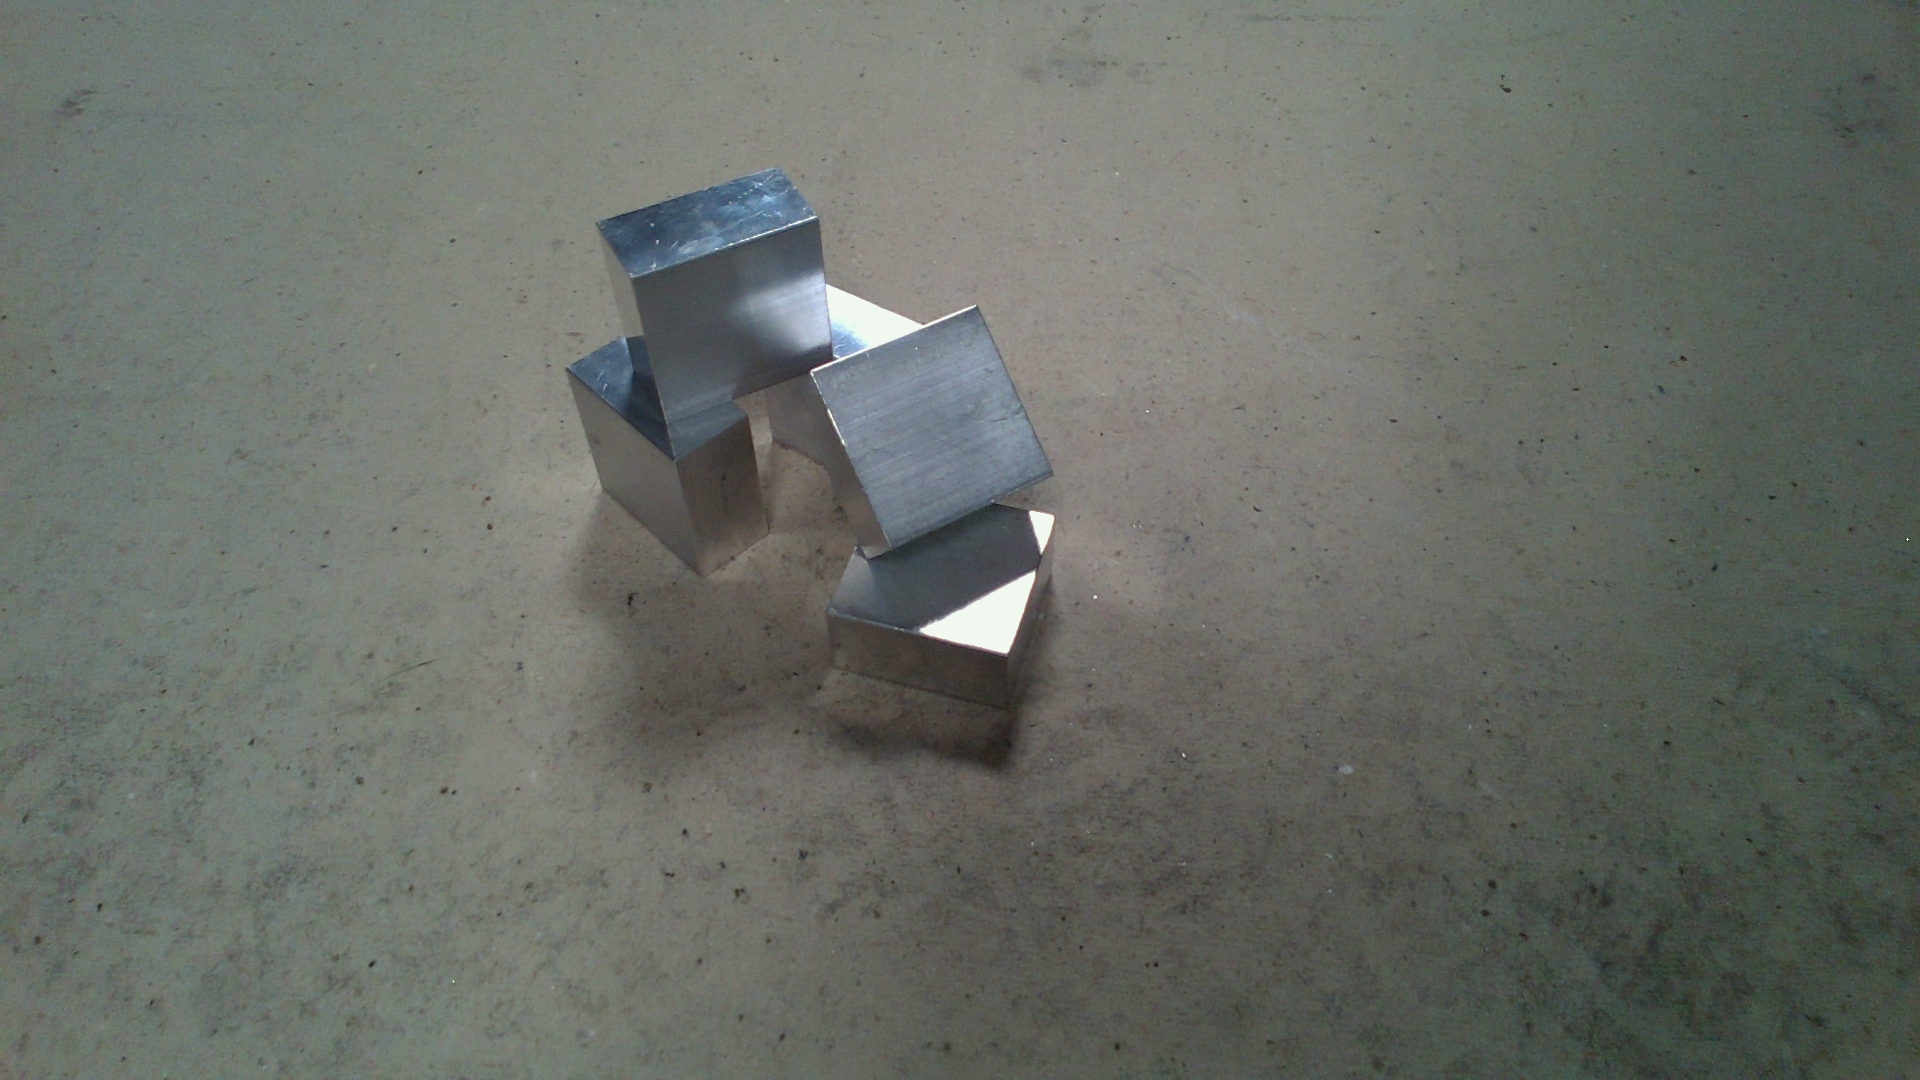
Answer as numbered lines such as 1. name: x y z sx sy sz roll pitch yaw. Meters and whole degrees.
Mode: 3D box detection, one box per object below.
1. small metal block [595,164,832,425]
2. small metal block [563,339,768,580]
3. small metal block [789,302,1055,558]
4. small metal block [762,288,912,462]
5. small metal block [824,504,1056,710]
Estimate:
1. small metal block: -0.064 -0.065 0.365 0.050 0.050 0.025 -23 54 -18
2. small metal block: -0.084 -0.025 0.397 0.025 0.050 0.050 -37 59 -27
3. small metal block: -0.011 -0.029 0.367 0.050 0.025 0.050 -25 91 -20
4. small metal block: -0.033 -0.045 0.414 0.050 0.050 0.025 26 55 20
5. small metal block: -0.004 0.014 0.380 0.050 0.025 0.050 12 51 10
